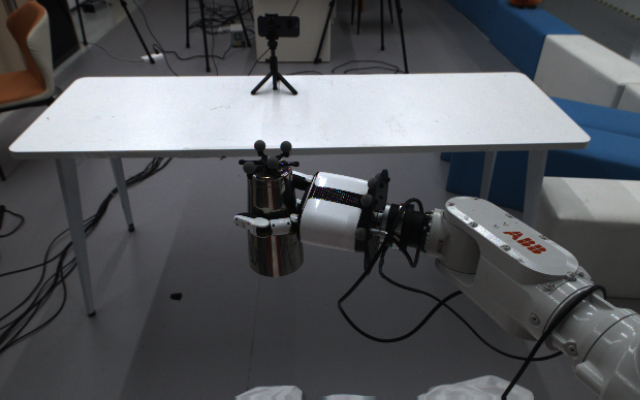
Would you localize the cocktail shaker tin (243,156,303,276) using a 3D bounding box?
[{"bbox_3d":[-0.072,0.024,0.754,0.093,0.170,0.093,-1,33,0],"label":"cocktail shaker tin"}]
